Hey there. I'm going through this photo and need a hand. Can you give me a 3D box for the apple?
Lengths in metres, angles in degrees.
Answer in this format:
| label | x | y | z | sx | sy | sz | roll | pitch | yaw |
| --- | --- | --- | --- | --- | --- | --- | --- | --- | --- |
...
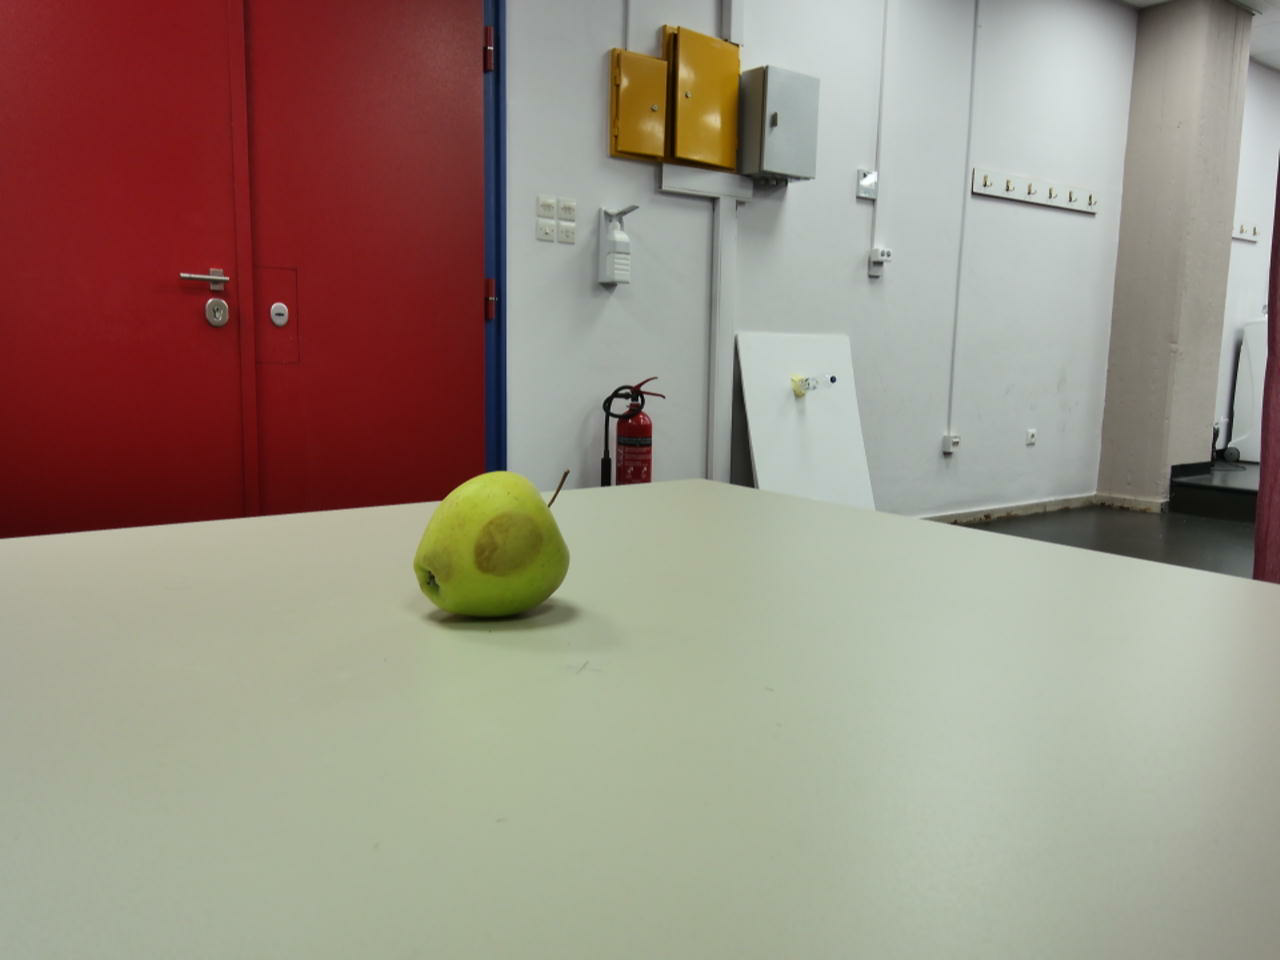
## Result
| label | x | y | z | sx | sy | sz | roll | pitch | yaw |
| --- | --- | --- | --- | --- | --- | --- | --- | --- | --- |
| apple | -0.078 | 0.034 | 0.533 | 0.077 | 0.075 | 0.072 | 1 | 6 | 7 |
